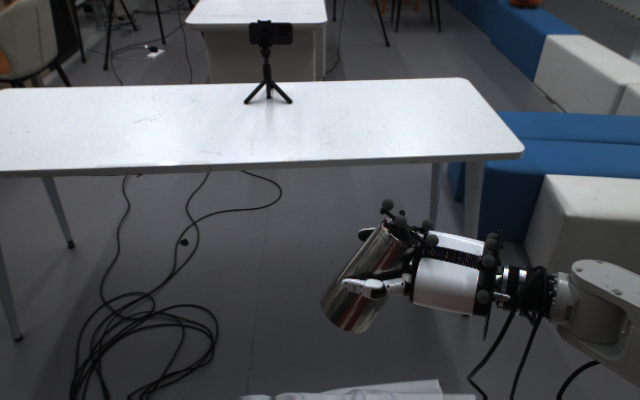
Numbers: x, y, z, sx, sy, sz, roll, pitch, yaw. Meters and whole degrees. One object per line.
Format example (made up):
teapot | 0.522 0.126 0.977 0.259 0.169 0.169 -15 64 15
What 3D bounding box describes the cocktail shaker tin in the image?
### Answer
cocktail shaker tin | 0.080 0.106 0.736 0.093 0.170 0.093 25 29 -15
